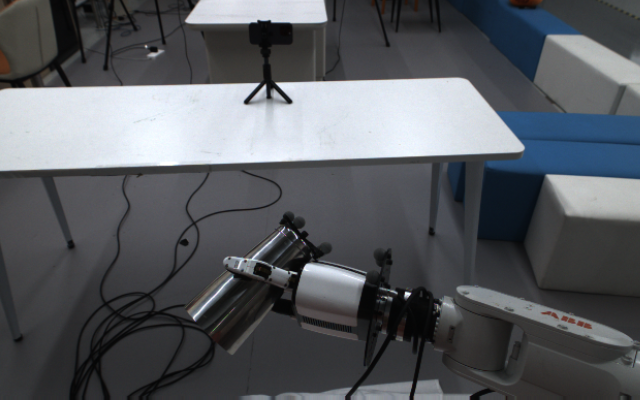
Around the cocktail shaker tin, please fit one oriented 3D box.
[{"bbox_3d":[-0.091,0.112,0.667,0.170,0.093,0.093,-43,50,-14],"label":"cocktail shaker tin"}]
